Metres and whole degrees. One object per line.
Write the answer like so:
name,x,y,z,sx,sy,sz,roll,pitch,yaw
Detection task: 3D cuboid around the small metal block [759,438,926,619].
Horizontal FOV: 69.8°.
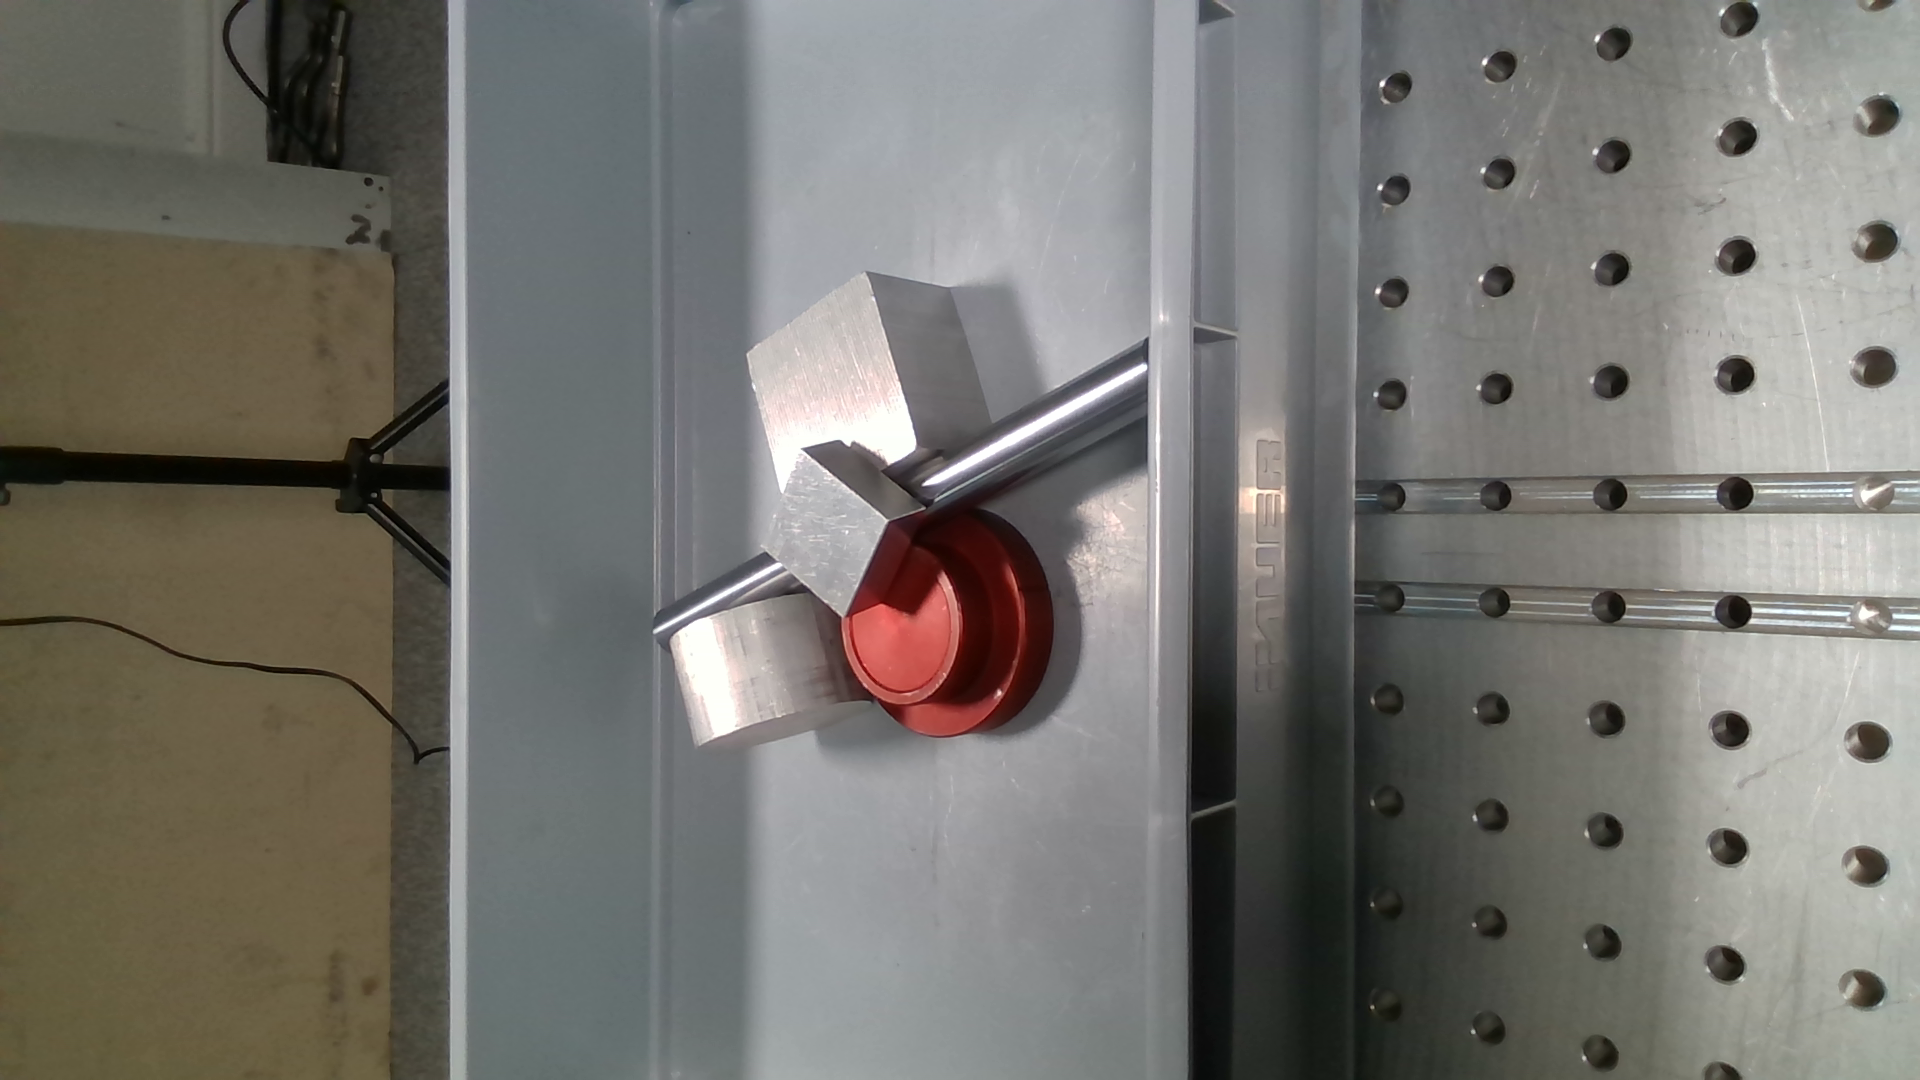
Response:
small metal block,-0.048,-0.005,0.558,0.050,0.025,0.050,39,122,21

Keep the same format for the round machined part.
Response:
round machined part,-0.012,0.035,0.579,0.098,0.042,0.098,0,91,40

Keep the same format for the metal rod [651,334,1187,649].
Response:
metal rod,-0.034,-0.009,0.581,0.300,0.025,0.025,-26,74,37

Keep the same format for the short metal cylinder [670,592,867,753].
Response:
short metal cylinder,-0.085,0.060,0.617,0.080,0.080,0.050,-26,74,37

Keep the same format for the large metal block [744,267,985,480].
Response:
large metal block,-0.040,-0.060,0.594,0.080,0.050,0.080,-26,74,37
